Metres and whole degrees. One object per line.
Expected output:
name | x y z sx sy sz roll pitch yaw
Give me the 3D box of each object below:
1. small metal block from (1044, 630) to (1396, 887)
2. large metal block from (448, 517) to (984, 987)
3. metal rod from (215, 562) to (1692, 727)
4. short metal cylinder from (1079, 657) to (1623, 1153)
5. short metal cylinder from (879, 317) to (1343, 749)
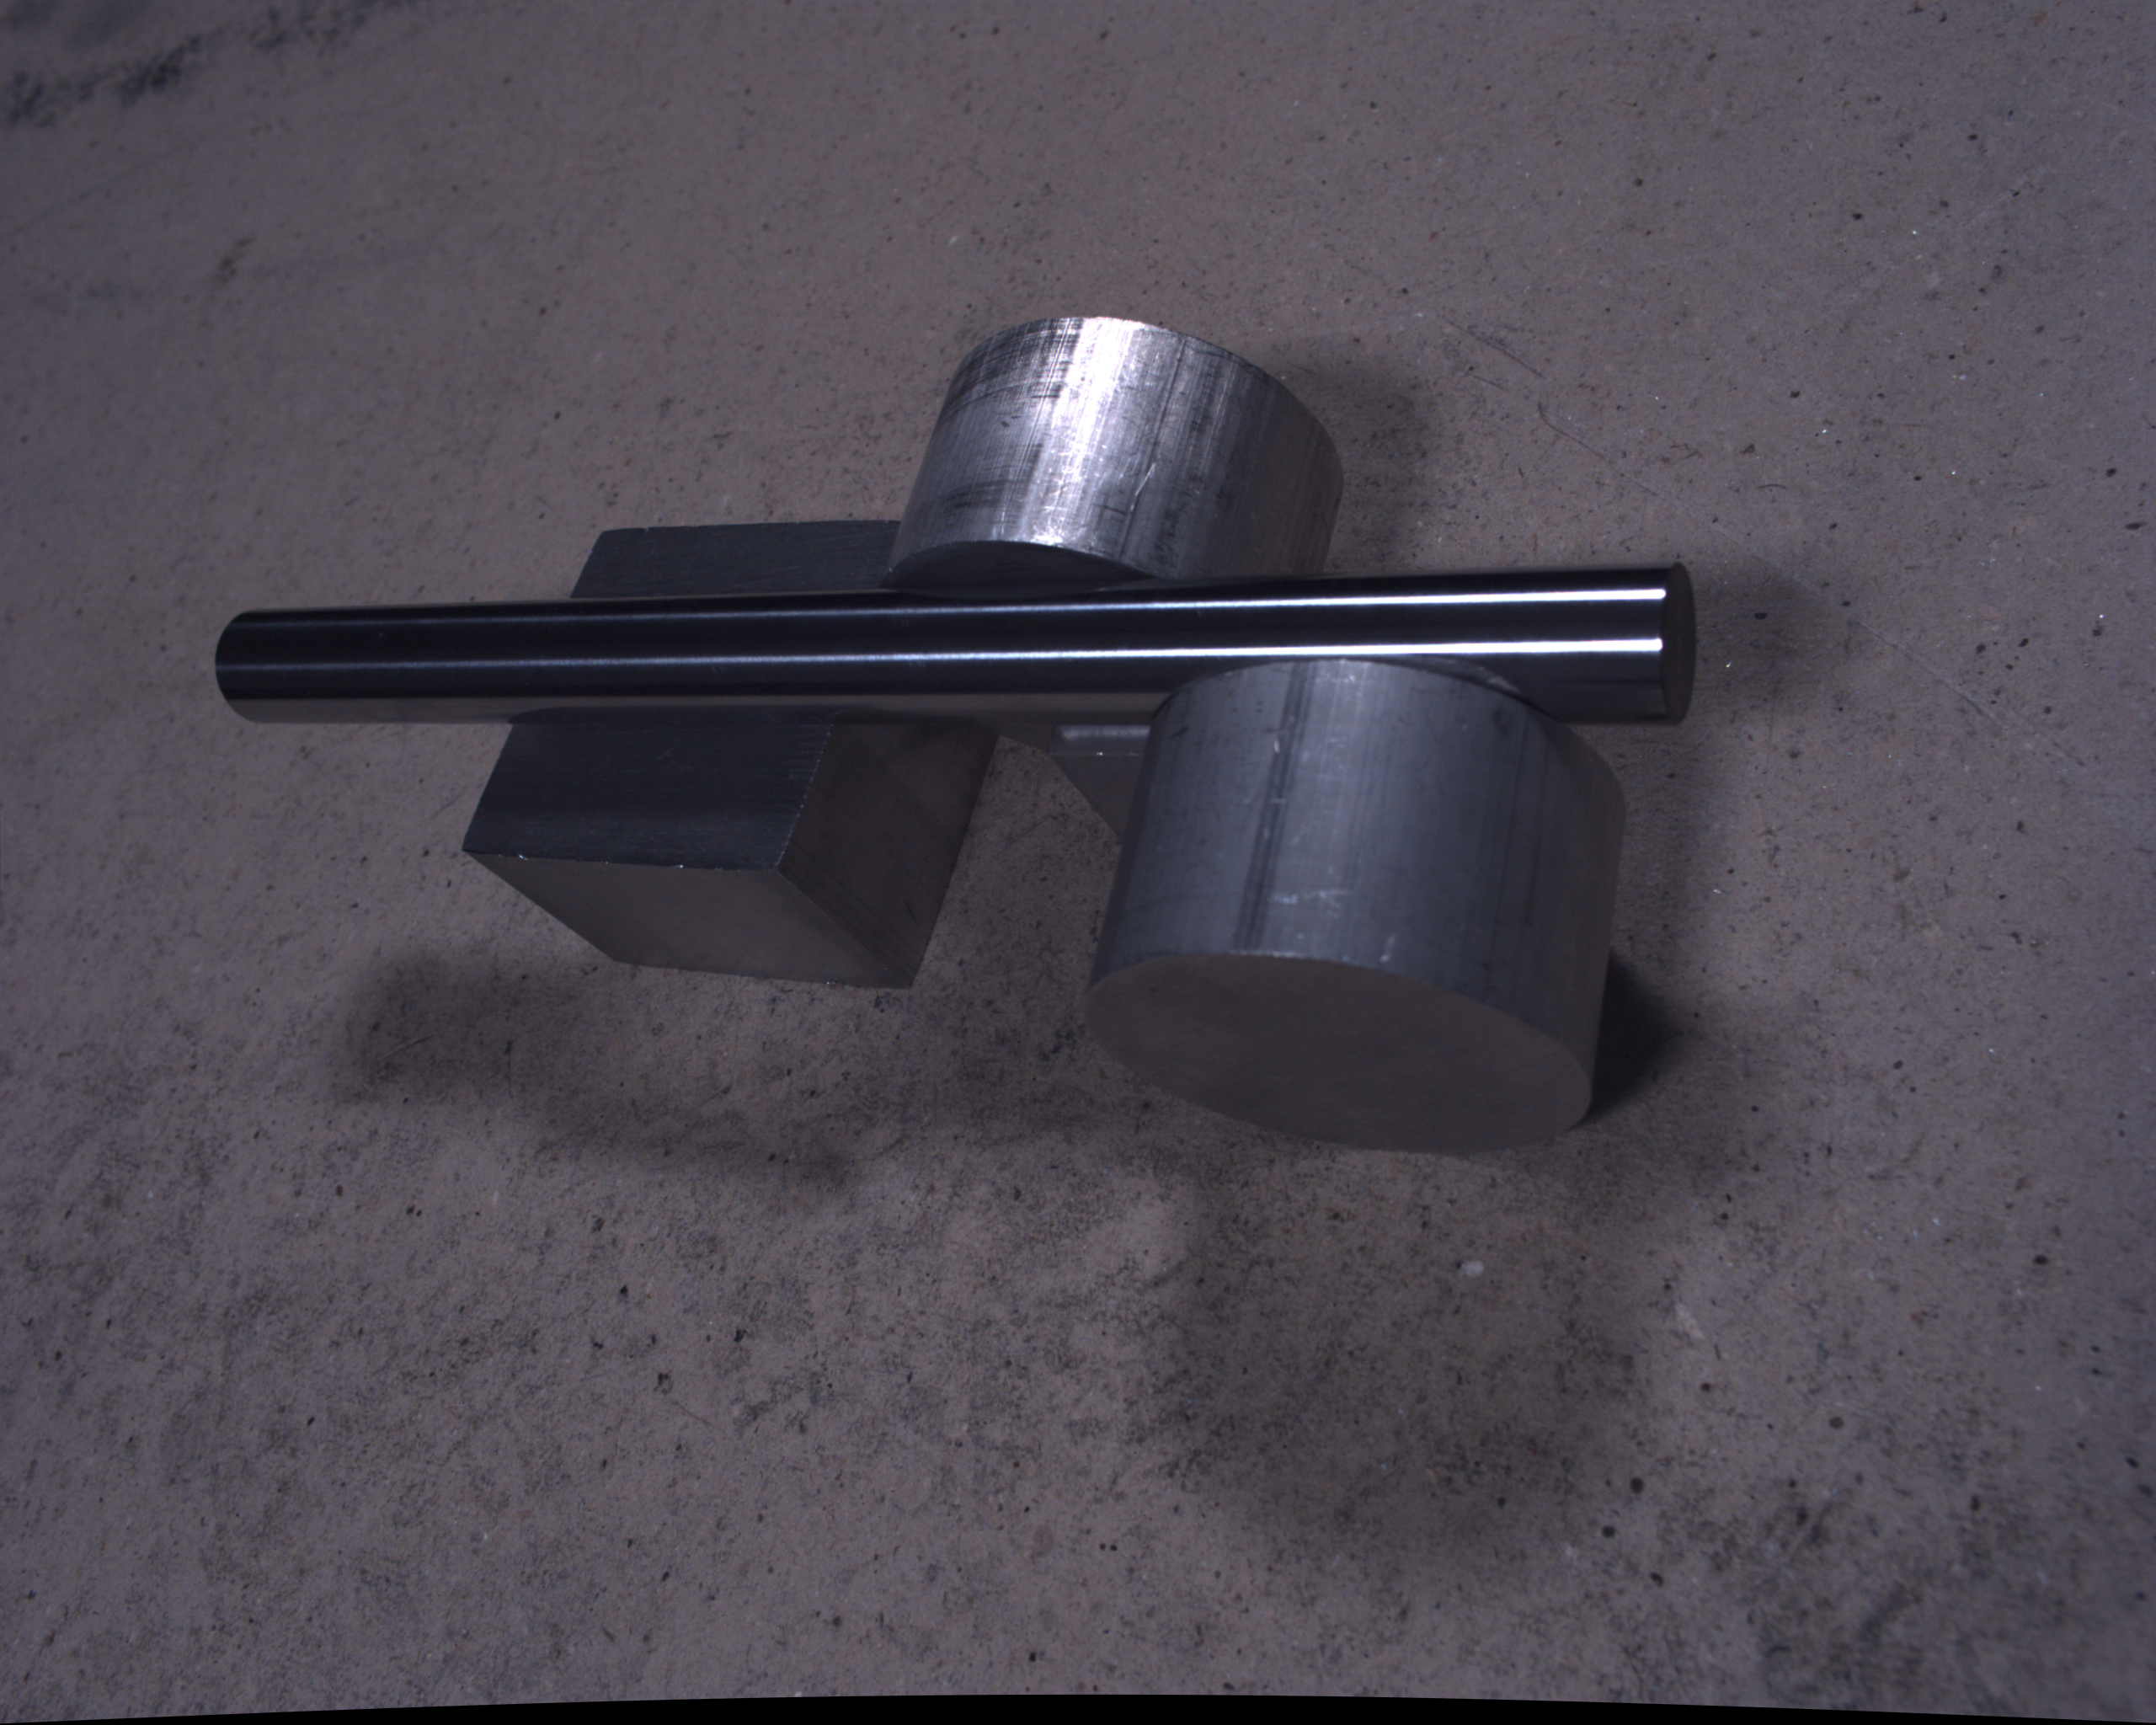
small metal block | 0.030 -0.018 0.382 0.050 0.050 0.025 1 63 28
large metal block | -0.070 -0.024 0.435 0.080 0.050 0.080 3 63 29
metal rod | -0.043 -0.037 0.384 0.301 0.025 0.025 2 63 27
short metal cylinder | 0.045 0.009 0.339 0.080 0.080 0.050 0 62 28
short metal cylinder | 0.006 -0.059 0.403 0.080 0.080 0.050 2 63 29
